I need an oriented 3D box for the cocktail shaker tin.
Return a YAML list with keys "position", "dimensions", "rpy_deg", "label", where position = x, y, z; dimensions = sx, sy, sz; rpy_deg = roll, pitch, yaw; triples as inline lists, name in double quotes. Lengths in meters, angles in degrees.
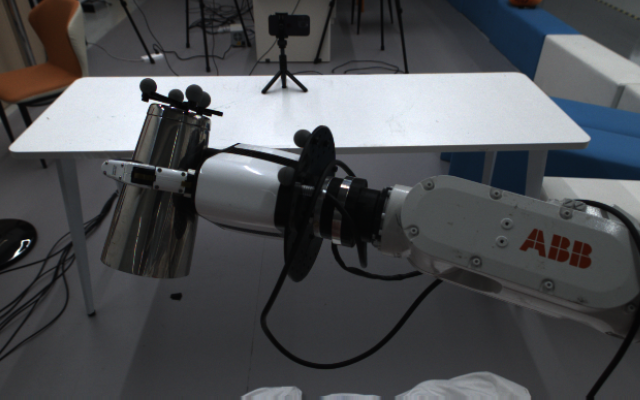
- position: [-0.168, -0.010, 0.520]
  dimensions: [0.093, 0.170, 0.093]
  rpy_deg: [13, 2, 0]
  label: "cocktail shaker tin"
